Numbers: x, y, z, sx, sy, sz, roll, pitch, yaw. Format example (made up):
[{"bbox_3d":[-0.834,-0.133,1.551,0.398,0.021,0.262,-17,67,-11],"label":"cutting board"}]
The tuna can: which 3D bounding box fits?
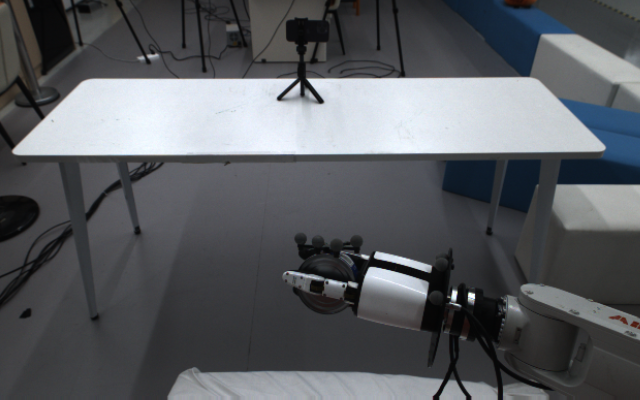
[{"bbox_3d":[0.013,0.113,0.671,0.085,0.085,0.034,12,7,15],"label":"tuna can"}]
